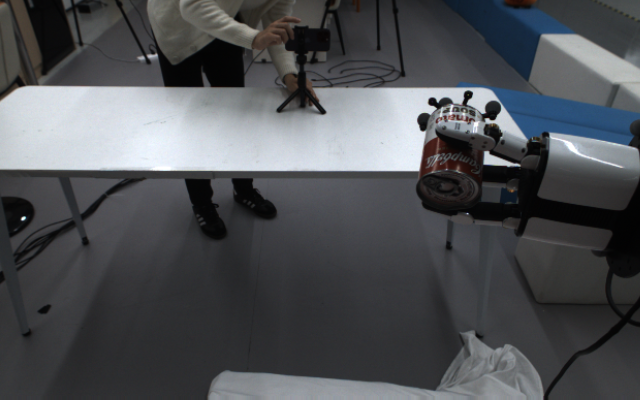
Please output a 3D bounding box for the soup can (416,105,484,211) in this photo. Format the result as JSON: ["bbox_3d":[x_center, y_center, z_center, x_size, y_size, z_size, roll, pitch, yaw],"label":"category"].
[{"bbox_3d":[0.148,-0.051,0.538,0.067,0.067,0.101,9,56,10],"label":"soup can"}]
